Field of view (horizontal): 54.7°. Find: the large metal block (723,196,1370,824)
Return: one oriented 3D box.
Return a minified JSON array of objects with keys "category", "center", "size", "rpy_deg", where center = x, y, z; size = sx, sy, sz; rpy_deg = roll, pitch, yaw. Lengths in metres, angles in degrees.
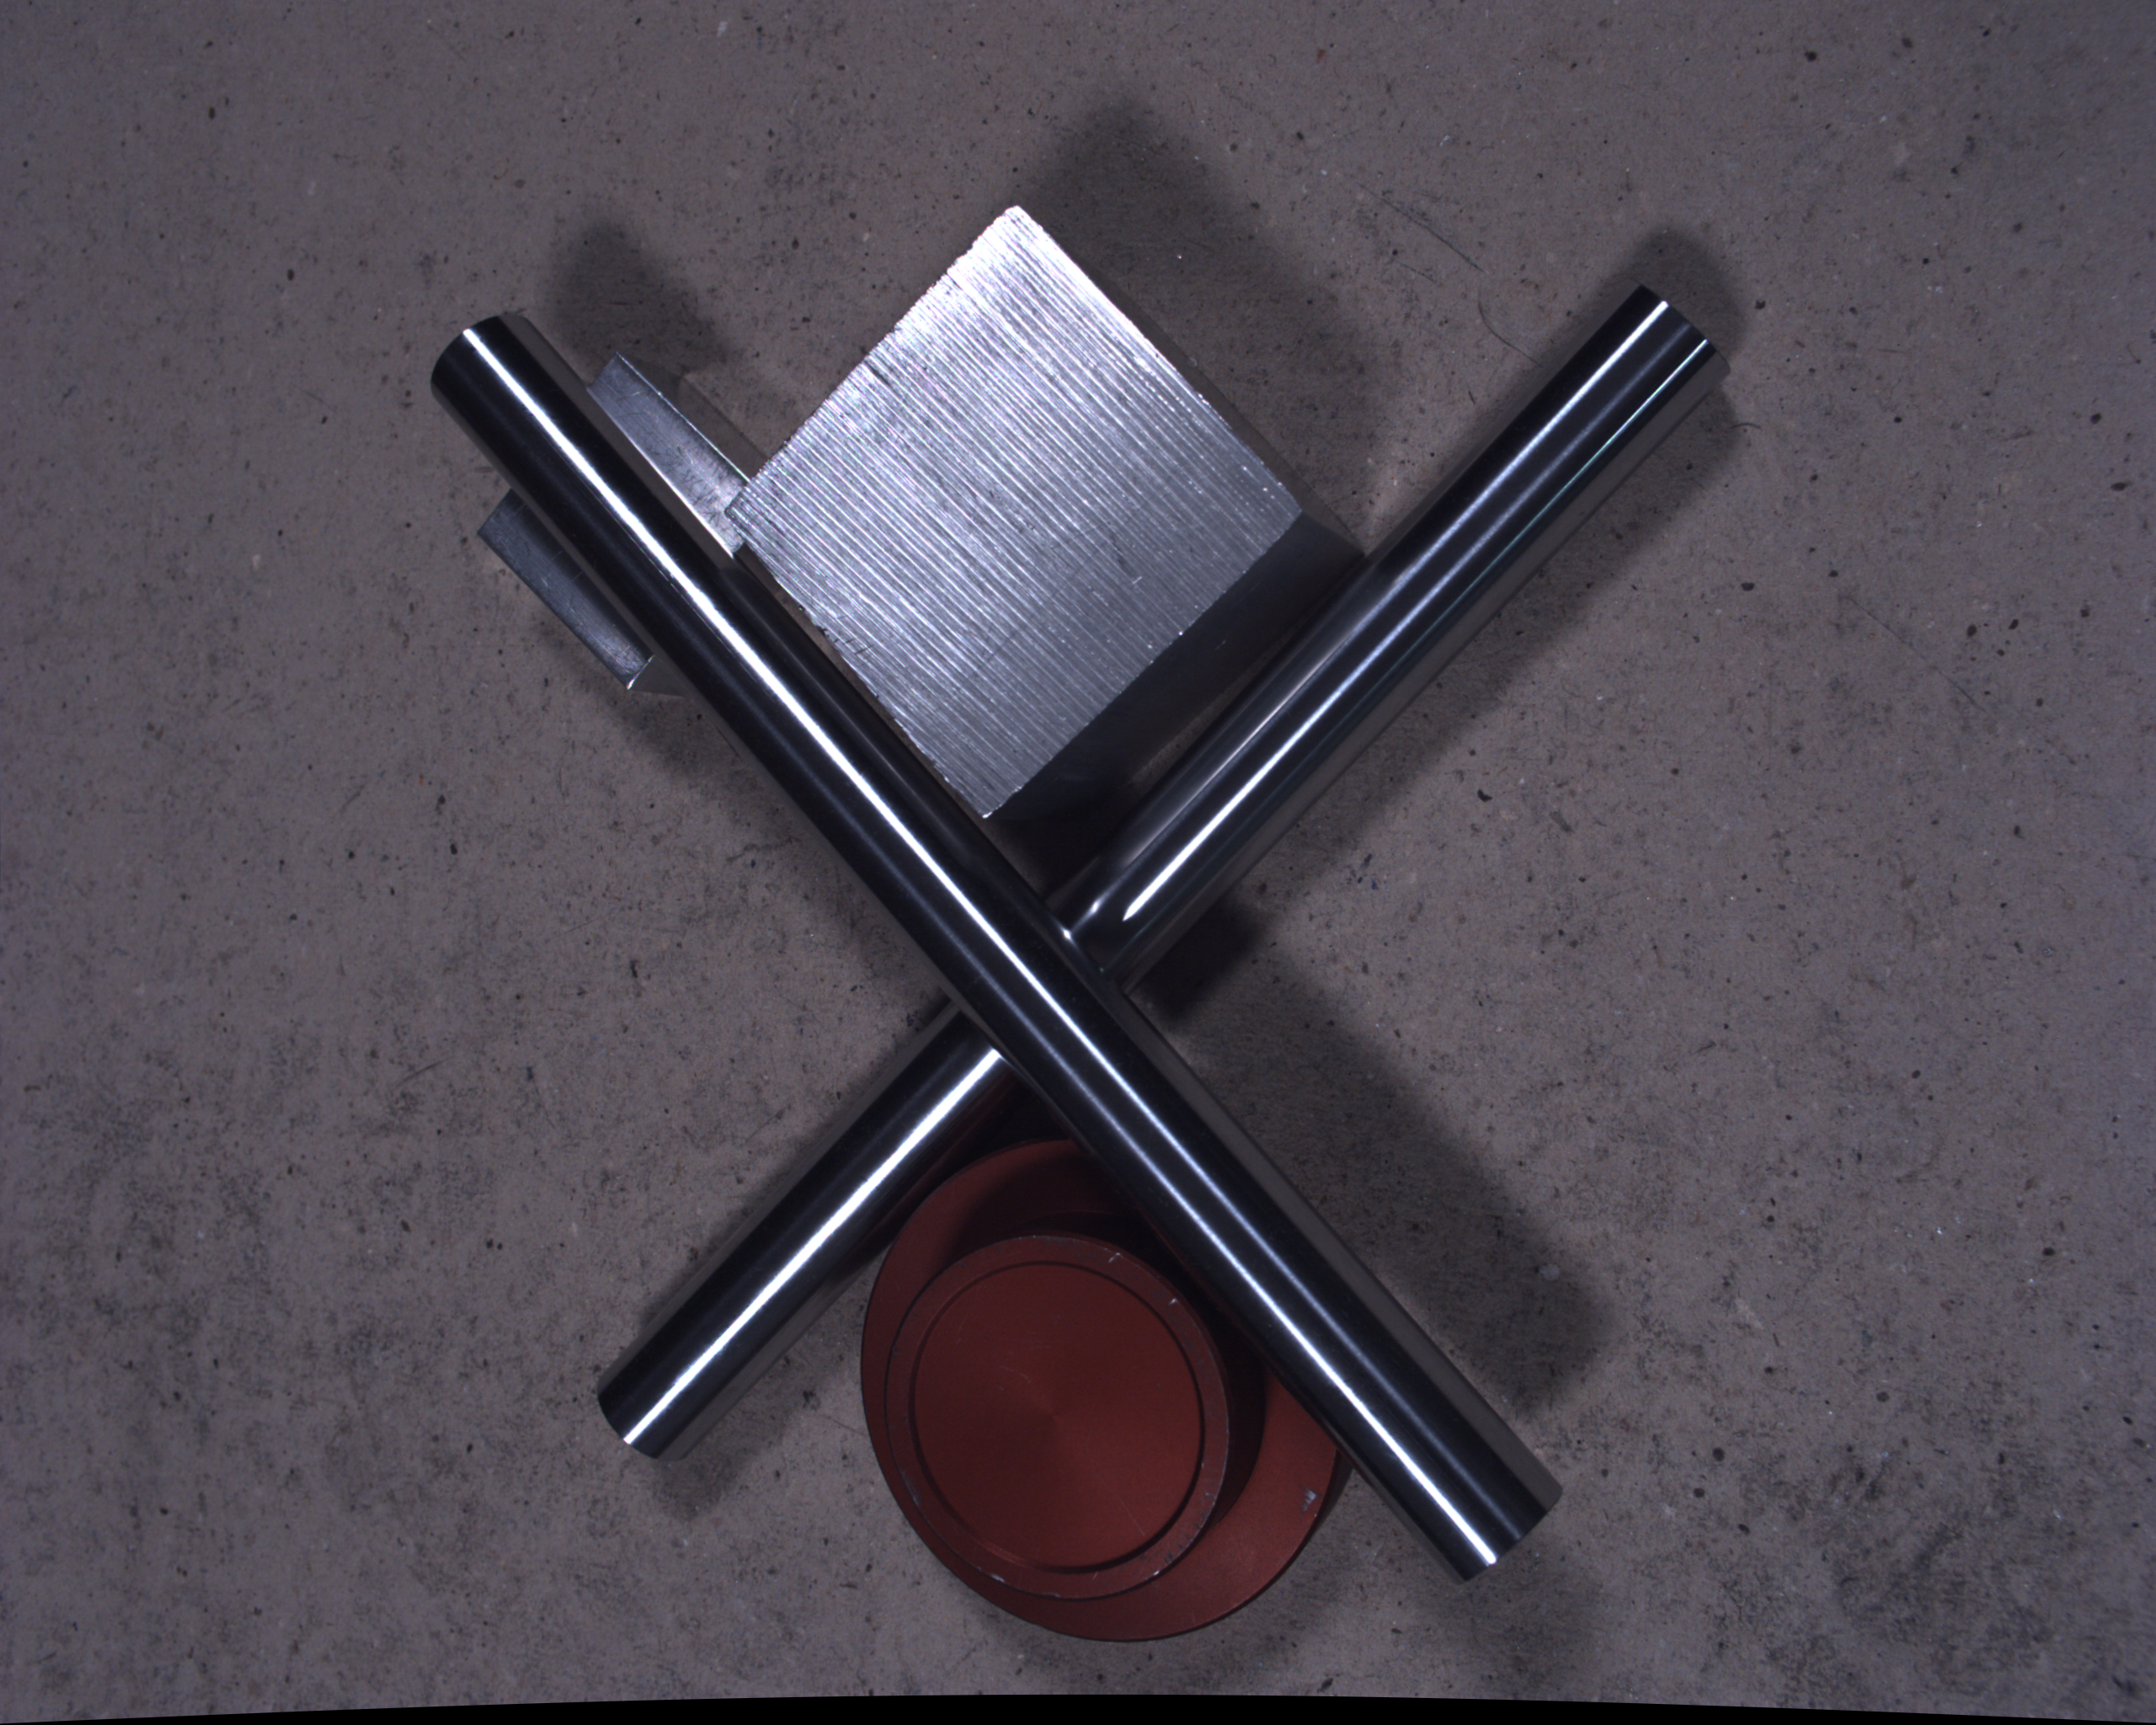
[{"category":"large metal block","center":[-0.005,-0.064,0.399],"size":[0.080,0.050,0.080],"rpy_deg":[-43,77,14]}]

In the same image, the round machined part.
[{"category":"round machined part","center":[0.003,0.101,0.399],"size":[0.098,0.042,0.097],"rpy_deg":[0,90,19]}]

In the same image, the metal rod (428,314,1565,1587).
[{"category":"metal rod","center":[-0.024,0.007,0.391],"size":[0.025,0.025,0.300],"rpy_deg":[-45,77,14]}]

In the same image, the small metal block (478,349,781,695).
[{"category":"small metal block","center":[-0.089,-0.071,0.442],"size":[0.050,0.025,0.050],"rpy_deg":[45,103,14]}]

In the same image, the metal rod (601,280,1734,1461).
[{"category":"metal rod","center":[0.009,0.010,0.408],"size":[0.025,0.025,0.299],"rpy_deg":[46,104,14]}]
